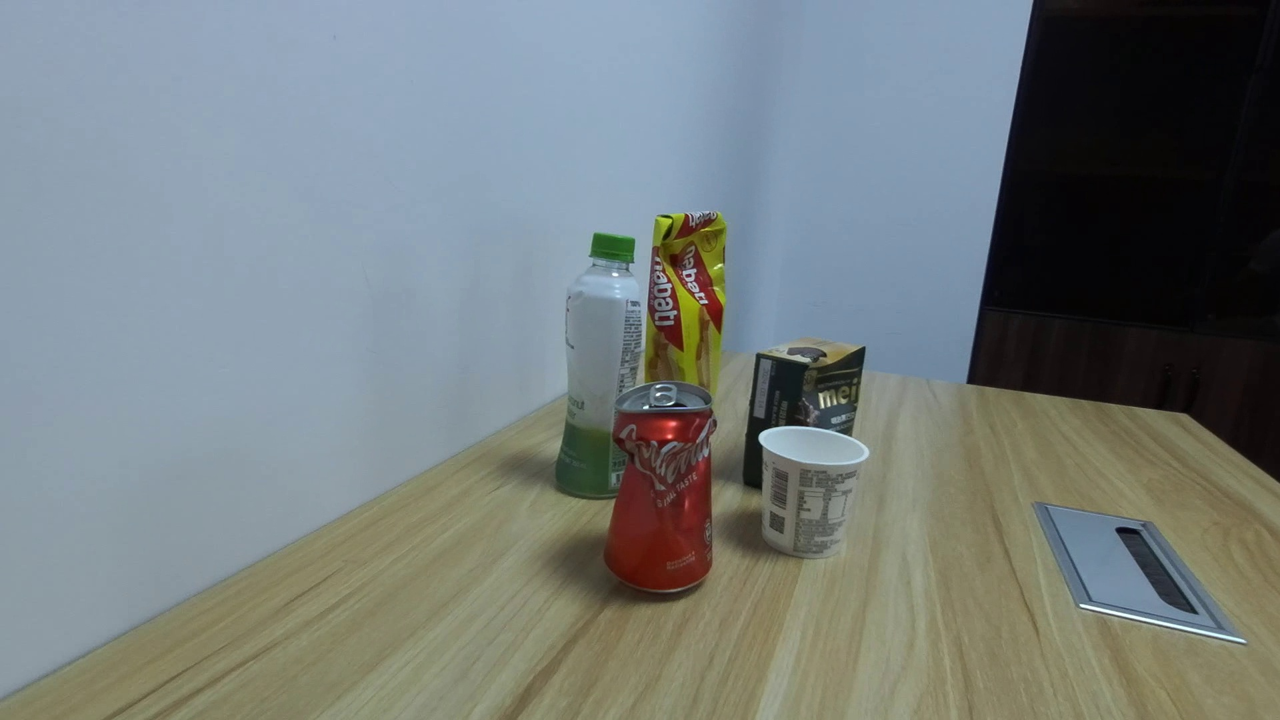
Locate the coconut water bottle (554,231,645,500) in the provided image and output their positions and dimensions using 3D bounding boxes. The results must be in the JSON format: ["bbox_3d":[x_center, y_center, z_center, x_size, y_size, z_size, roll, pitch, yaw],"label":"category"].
[{"bbox_3d":[-0.027,0.003,0.521,0.069,0.187,0.069,3,12,0],"label":"coconut water bottle"}]

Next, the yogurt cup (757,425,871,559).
[{"bbox_3d":[0.110,0.087,0.463,0.072,0.068,0.072,3,14,0],"label":"yogurt cup"}]

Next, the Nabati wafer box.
[{"bbox_3d":[0.043,-0.028,0.639,0.042,0.205,0.113,8,15,23],"label":"Nabati wafer box"}]

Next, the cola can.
[{"bbox_3d":[0.014,0.072,0.409,0.065,0.112,0.069,16,18,41],"label":"cola can"}]
